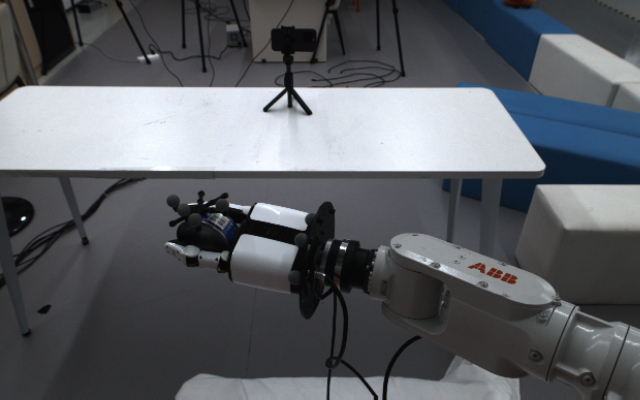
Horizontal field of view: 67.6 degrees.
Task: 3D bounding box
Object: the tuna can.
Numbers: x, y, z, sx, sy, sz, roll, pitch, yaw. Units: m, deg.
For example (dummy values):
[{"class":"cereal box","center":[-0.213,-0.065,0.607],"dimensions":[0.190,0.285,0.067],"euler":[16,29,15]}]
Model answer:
[{"class":"tuna can","center":[-0.151,0.052,0.672],"dimensions":[0.085,0.085,0.034],"euler":[14,40,16]}]
